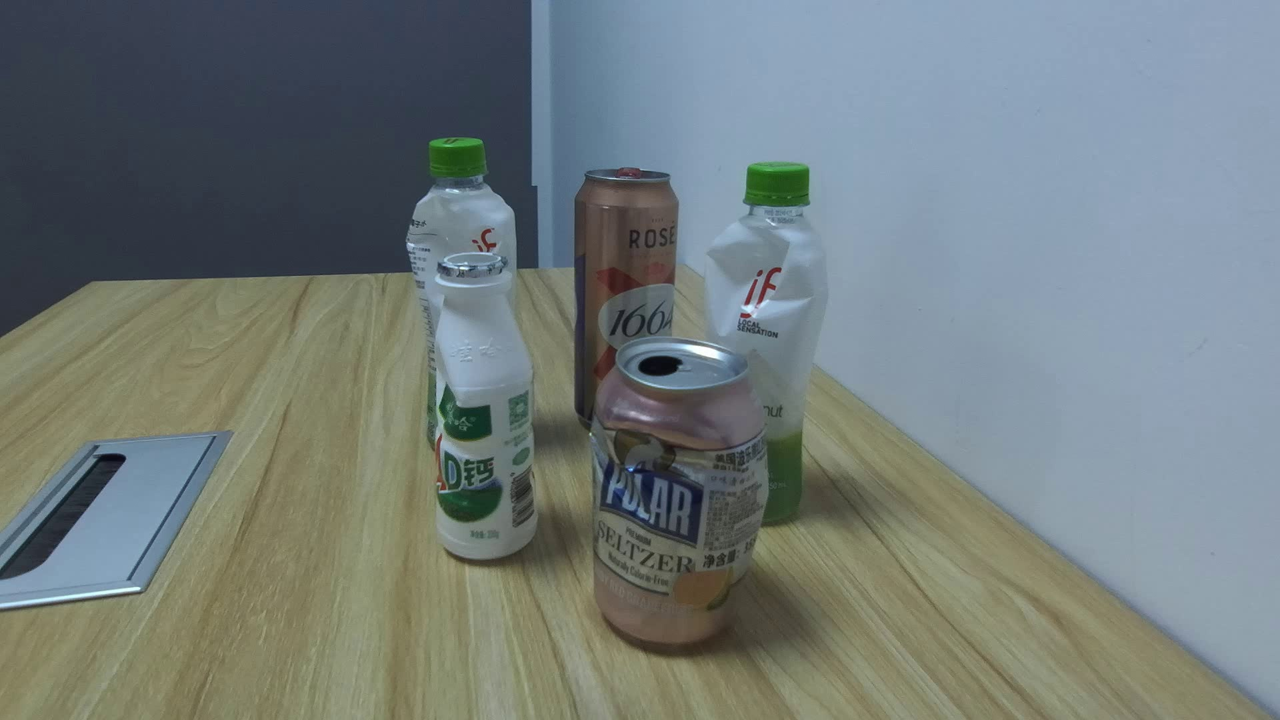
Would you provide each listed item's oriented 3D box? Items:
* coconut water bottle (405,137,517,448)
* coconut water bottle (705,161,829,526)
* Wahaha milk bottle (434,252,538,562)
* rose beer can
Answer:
[{"bbox_3d":[-0.102,-0.035,0.425,0.069,0.187,0.069,2,16,0],"label":"coconut water bottle"},{"bbox_3d":[0.065,-0.009,0.375,0.067,0.187,0.067,1,22,0],"label":"coconut water bottle"},{"bbox_3d":[-0.078,0.024,0.343,0.056,0.147,0.056,2,22,0],"label":"Wahaha milk bottle"},{"bbox_3d":[-0.010,-0.035,0.474,0.068,0.169,0.068,2,15,0],"label":"rose beer can"}]
